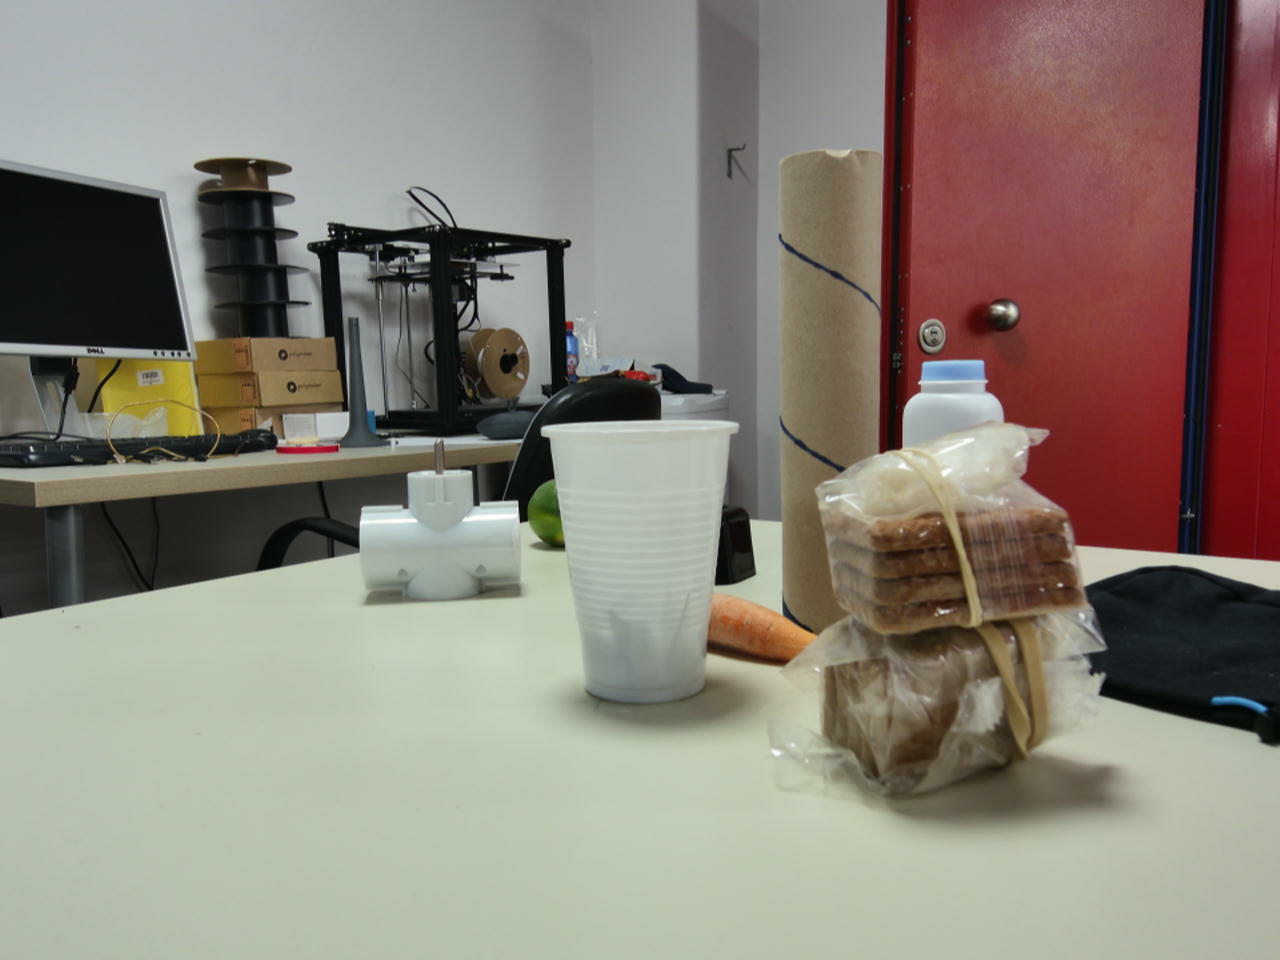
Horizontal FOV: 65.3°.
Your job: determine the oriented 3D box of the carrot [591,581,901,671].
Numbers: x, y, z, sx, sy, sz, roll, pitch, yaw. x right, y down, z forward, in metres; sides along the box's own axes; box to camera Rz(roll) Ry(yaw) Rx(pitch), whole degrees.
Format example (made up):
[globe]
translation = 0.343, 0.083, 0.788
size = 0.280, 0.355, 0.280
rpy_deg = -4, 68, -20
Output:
[carrot]
translation = 0.041, 0.066, 0.459
size = 0.163, 0.029, 0.031
rpy_deg = 3, 5, 37
